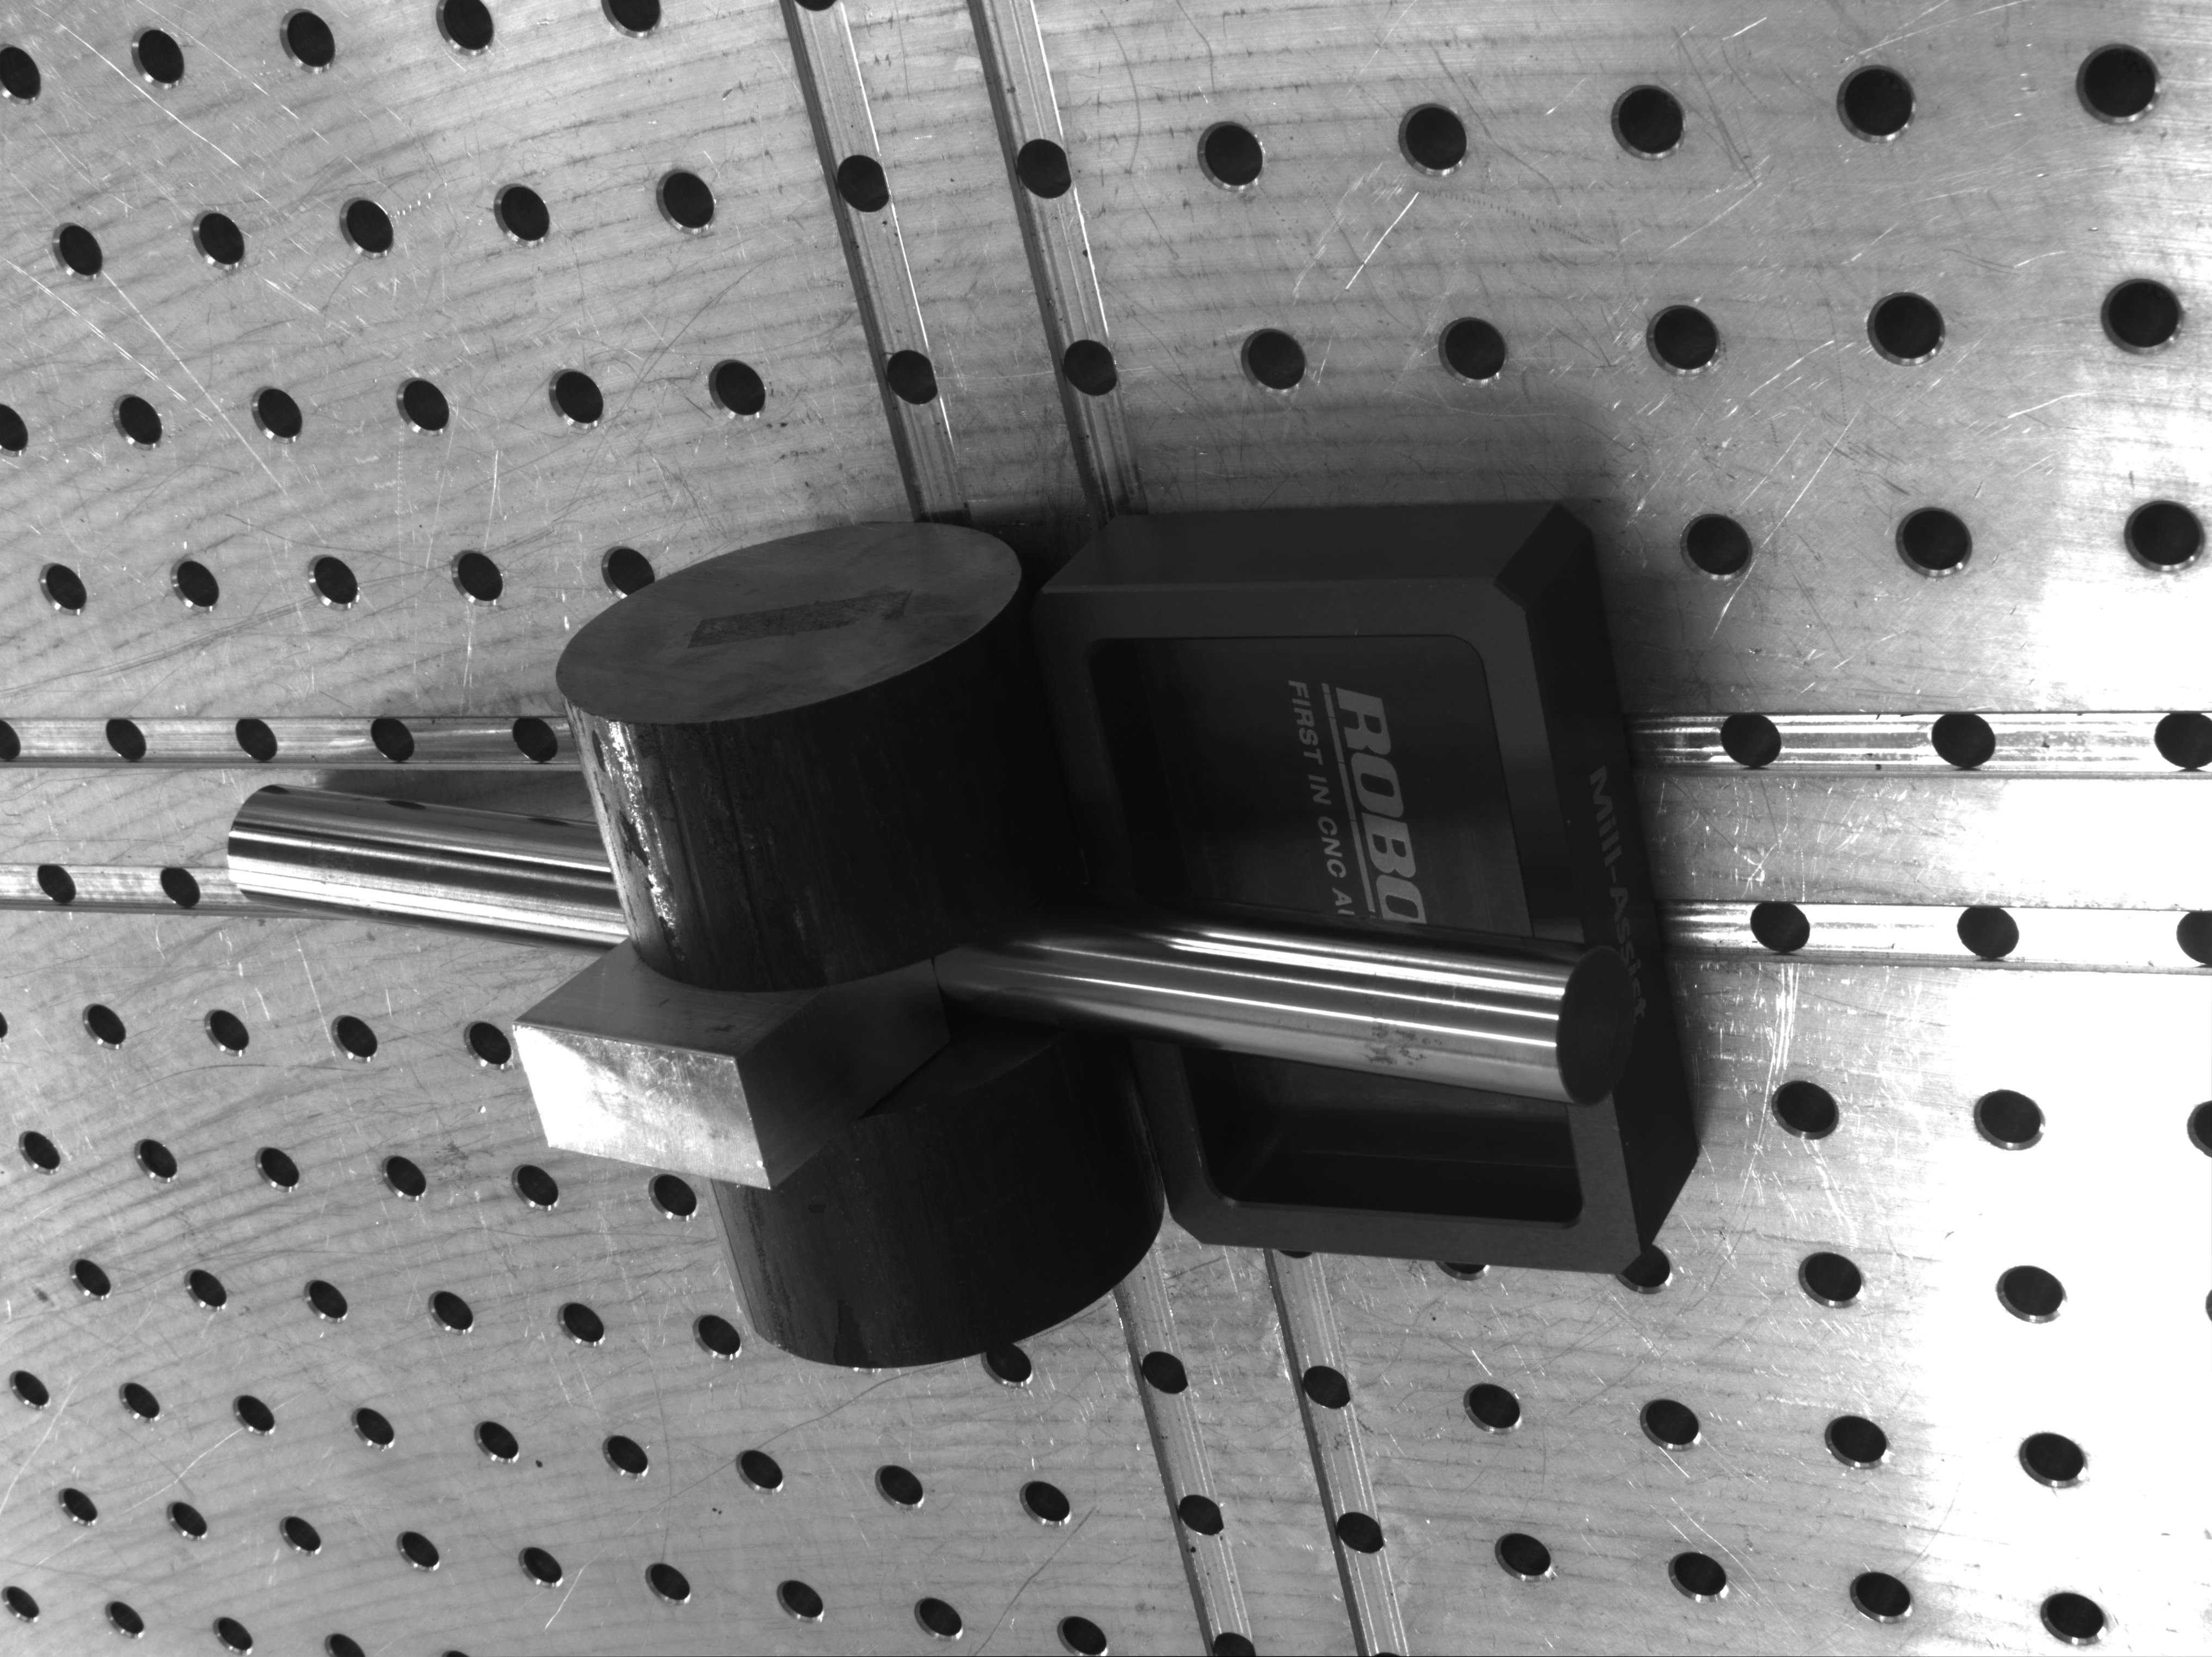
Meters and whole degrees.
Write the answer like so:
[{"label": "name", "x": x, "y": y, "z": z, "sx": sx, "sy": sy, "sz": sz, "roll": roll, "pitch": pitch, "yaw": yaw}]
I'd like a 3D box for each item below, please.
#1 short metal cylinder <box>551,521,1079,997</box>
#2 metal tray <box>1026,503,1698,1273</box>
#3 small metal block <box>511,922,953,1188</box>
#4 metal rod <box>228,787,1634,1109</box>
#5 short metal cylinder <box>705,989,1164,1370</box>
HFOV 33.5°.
[{"label": "short metal cylinder", "x": -0.049, "y": -0.013, "z": 0.627, "sx": 0.080, "sy": 0.080, "sz": 0.050, "roll": 1, "pitch": 119, "yaw": 28}, {"label": "metal tray", "x": 0.045, "y": 0.011, "z": 0.625, "sx": 0.090, "sy": 0.030, "sz": 0.130, "roll": 1, "pitch": 119, "yaw": 28}, {"label": "small metal block", "x": -0.063, "y": 0.034, "z": 0.623, "sx": 0.050, "sy": 0.050, "sz": 0.025, "roll": 6, "pitch": 121, "yaw": 35}, {"label": "metal rod", "x": -0.046, "y": 0.017, "z": 0.651, "sx": 0.299, "sy": 0.025, "sz": 0.025, "roll": 6, "pitch": 122, "yaw": 36}, {"label": "short metal cylinder", "x": -0.034, "y": 0.053, "z": 0.661, "sx": 0.080, "sy": 0.080, "sz": 0.050, "roll": 1, "pitch": 119, "yaw": 28}]
